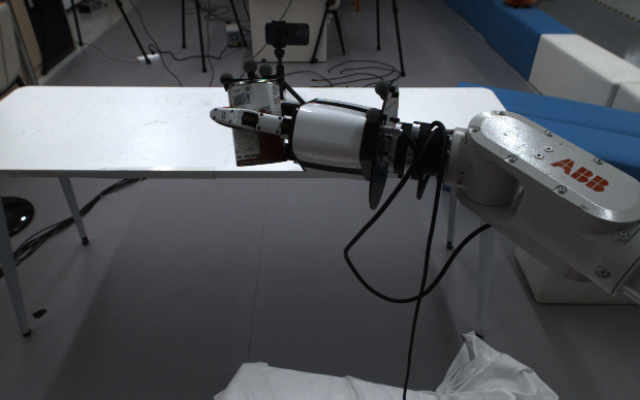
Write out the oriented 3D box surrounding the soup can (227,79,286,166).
[{"bbox_3d":[-0.080,-0.096,0.624,0.067,0.101,0.067,-7,3,0],"label":"soup can"}]
